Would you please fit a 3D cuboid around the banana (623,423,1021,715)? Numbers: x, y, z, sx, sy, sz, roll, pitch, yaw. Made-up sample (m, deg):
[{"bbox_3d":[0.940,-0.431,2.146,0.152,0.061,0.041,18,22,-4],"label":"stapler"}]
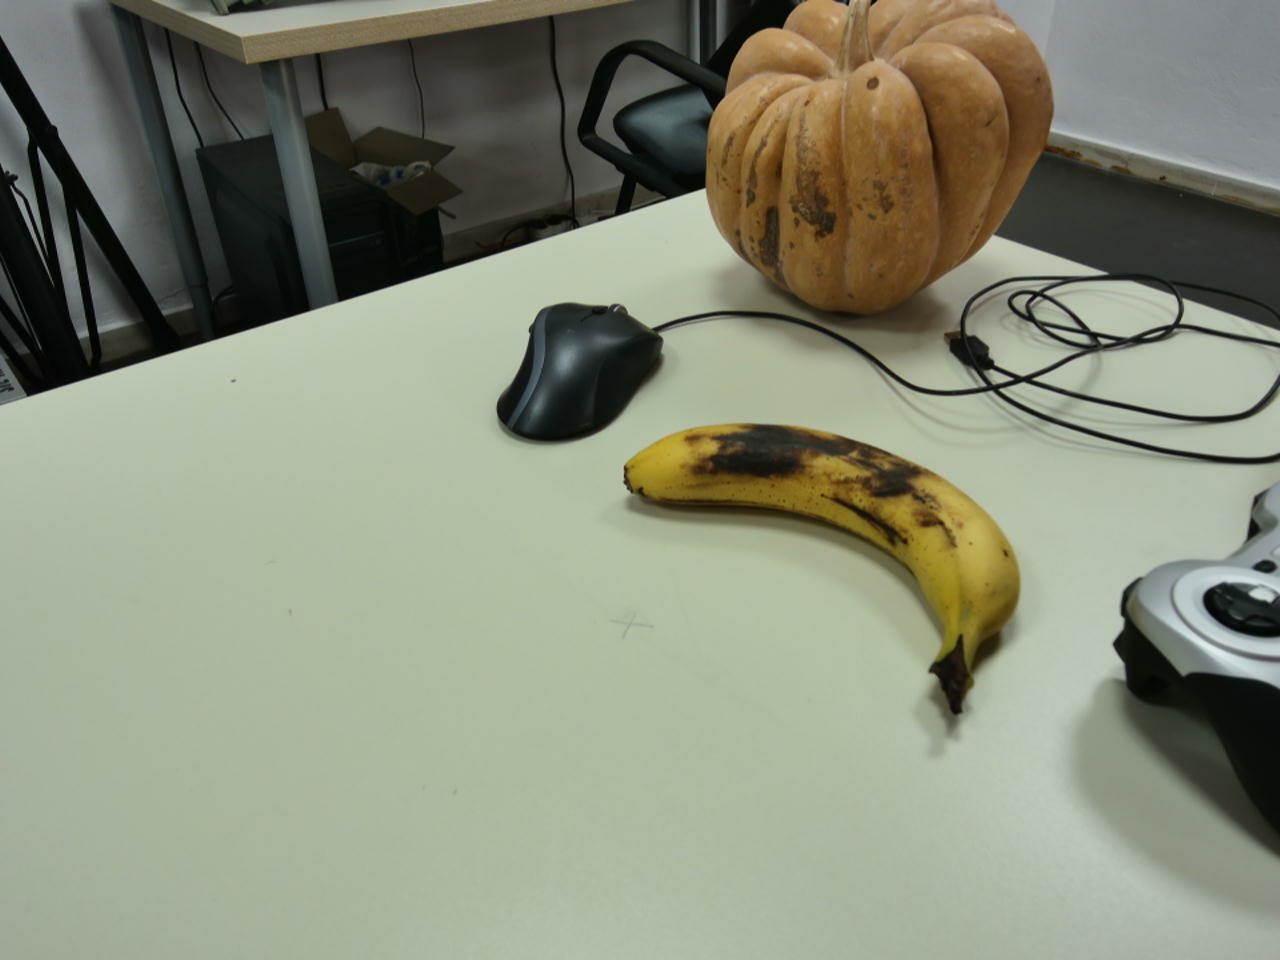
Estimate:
[{"bbox_3d":[0.084,0.017,0.426,0.094,0.039,0.187,-25,41,-31],"label":"banana"}]
